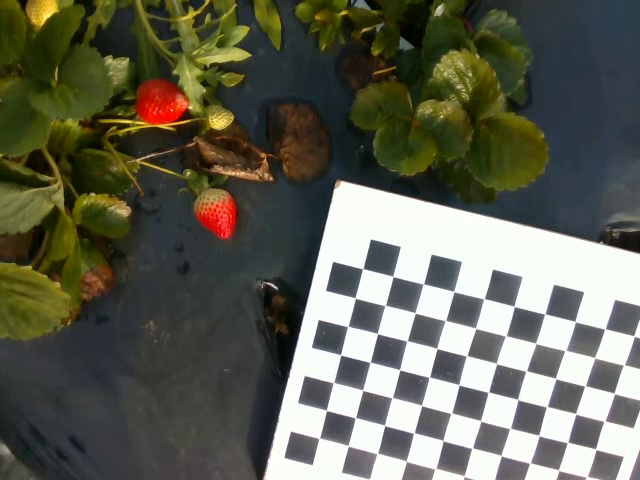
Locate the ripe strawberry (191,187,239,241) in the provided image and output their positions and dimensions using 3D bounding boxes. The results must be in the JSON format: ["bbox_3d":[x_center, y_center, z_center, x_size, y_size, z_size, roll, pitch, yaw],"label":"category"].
[{"bbox_3d":[-0.080,-0.019,0.511,0.035,0.043,0.030,-23,4,4],"label":"ripe strawberry"}]

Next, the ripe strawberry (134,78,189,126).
[{"bbox_3d":[-0.114,-0.102,0.496,0.048,0.040,0.031,8,12,43],"label":"ripe strawberry"}]
